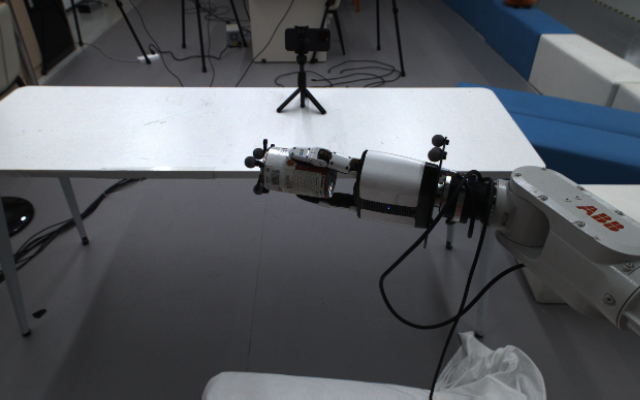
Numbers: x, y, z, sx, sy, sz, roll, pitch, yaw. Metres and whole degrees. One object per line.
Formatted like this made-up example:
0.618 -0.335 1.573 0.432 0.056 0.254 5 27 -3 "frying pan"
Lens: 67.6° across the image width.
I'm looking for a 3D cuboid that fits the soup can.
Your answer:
-0.028 -0.041 0.724 0.101 0.067 0.067 9 35 10 "soup can"
